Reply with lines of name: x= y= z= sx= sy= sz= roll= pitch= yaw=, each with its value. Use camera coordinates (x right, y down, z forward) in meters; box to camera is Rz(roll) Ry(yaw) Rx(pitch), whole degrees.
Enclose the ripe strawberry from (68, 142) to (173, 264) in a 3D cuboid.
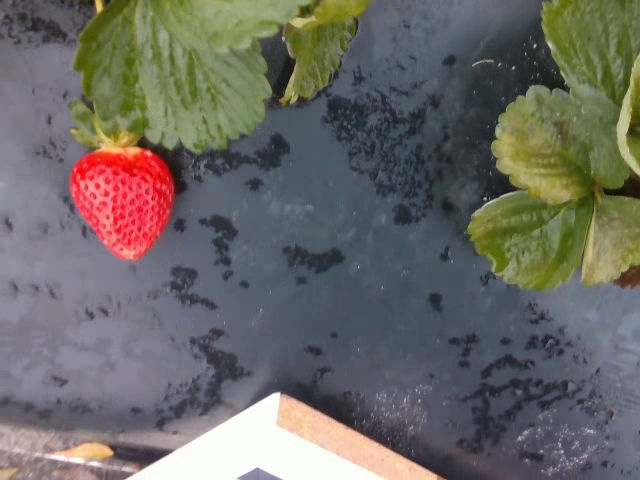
ripe strawberry: x=-0.084 y=-0.016 z=0.263 sx=0.045 sy=0.054 sz=0.048 roll=-3 pitch=-4 yaw=12
